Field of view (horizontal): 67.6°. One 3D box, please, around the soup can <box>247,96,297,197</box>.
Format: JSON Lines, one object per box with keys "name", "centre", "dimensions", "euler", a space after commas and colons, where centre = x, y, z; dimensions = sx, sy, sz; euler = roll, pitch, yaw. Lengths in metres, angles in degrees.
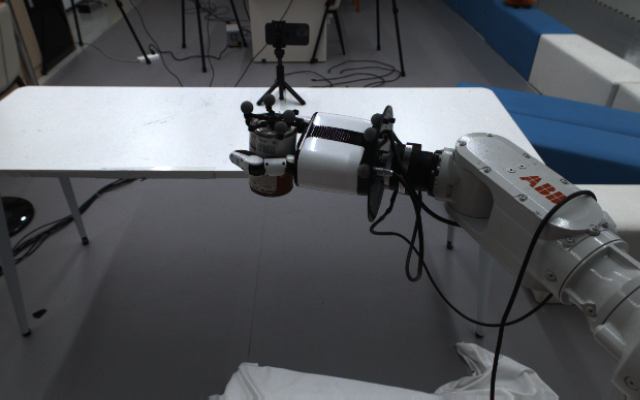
{"name": "soup can", "centre": [-0.068, -0.063, 0.693], "dimensions": [0.067, 0.101, 0.067], "euler": [5, 37, -4]}
